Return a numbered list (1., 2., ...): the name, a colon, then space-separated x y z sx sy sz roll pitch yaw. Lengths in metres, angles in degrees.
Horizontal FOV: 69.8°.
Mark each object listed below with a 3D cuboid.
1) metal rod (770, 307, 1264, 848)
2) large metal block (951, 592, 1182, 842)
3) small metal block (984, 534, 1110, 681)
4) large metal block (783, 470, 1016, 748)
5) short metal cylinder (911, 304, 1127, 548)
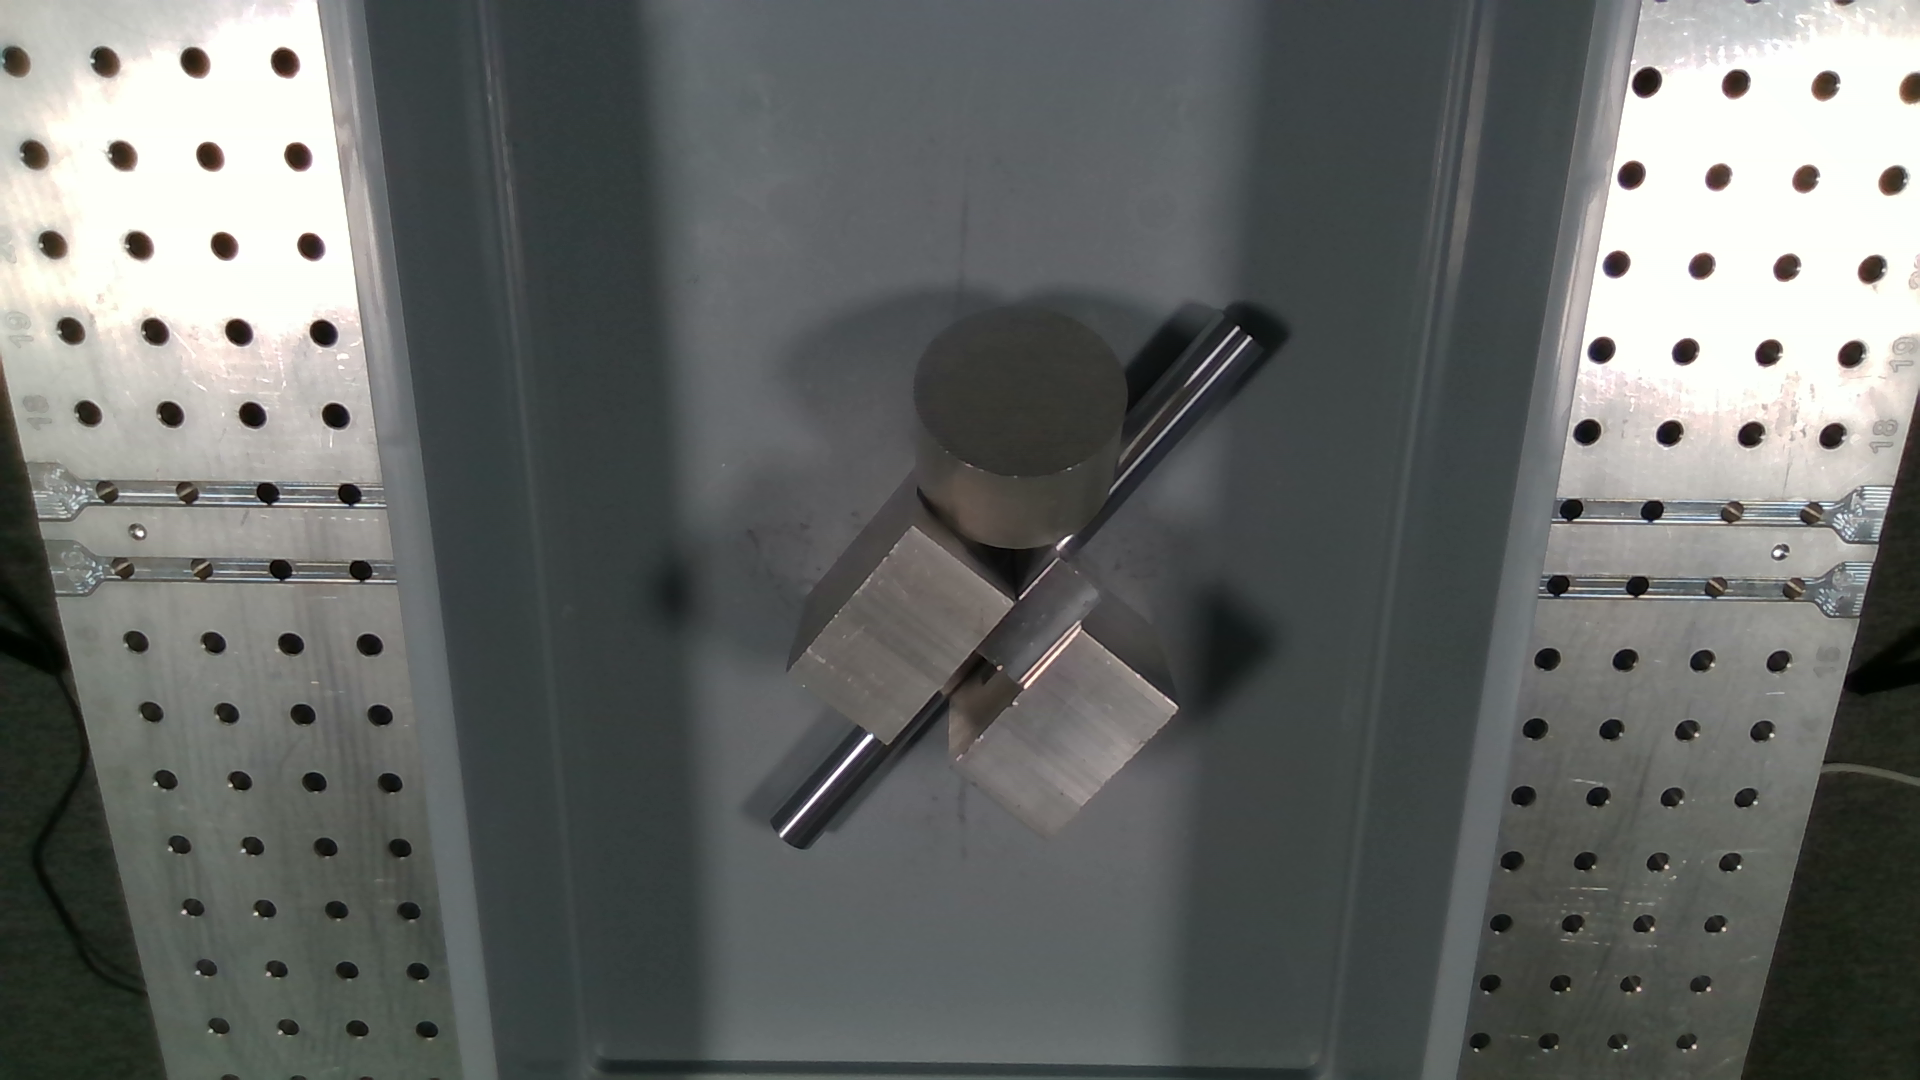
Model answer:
1. metal rod: 0.018 0.023 0.593 0.025 0.025 0.300 38 106 -13
2. large metal block: 0.042 0.065 0.579 0.050 0.080 0.080 38 106 -13
3. small metal block: 0.032 0.021 0.554 0.025 0.050 0.050 39 106 -13
4. large metal block: -0.024 0.024 0.564 0.050 0.080 0.080 37 106 -12
5. short metal cylinder: 0.022 -0.044 0.532 0.080 0.080 0.050 1 150 0
